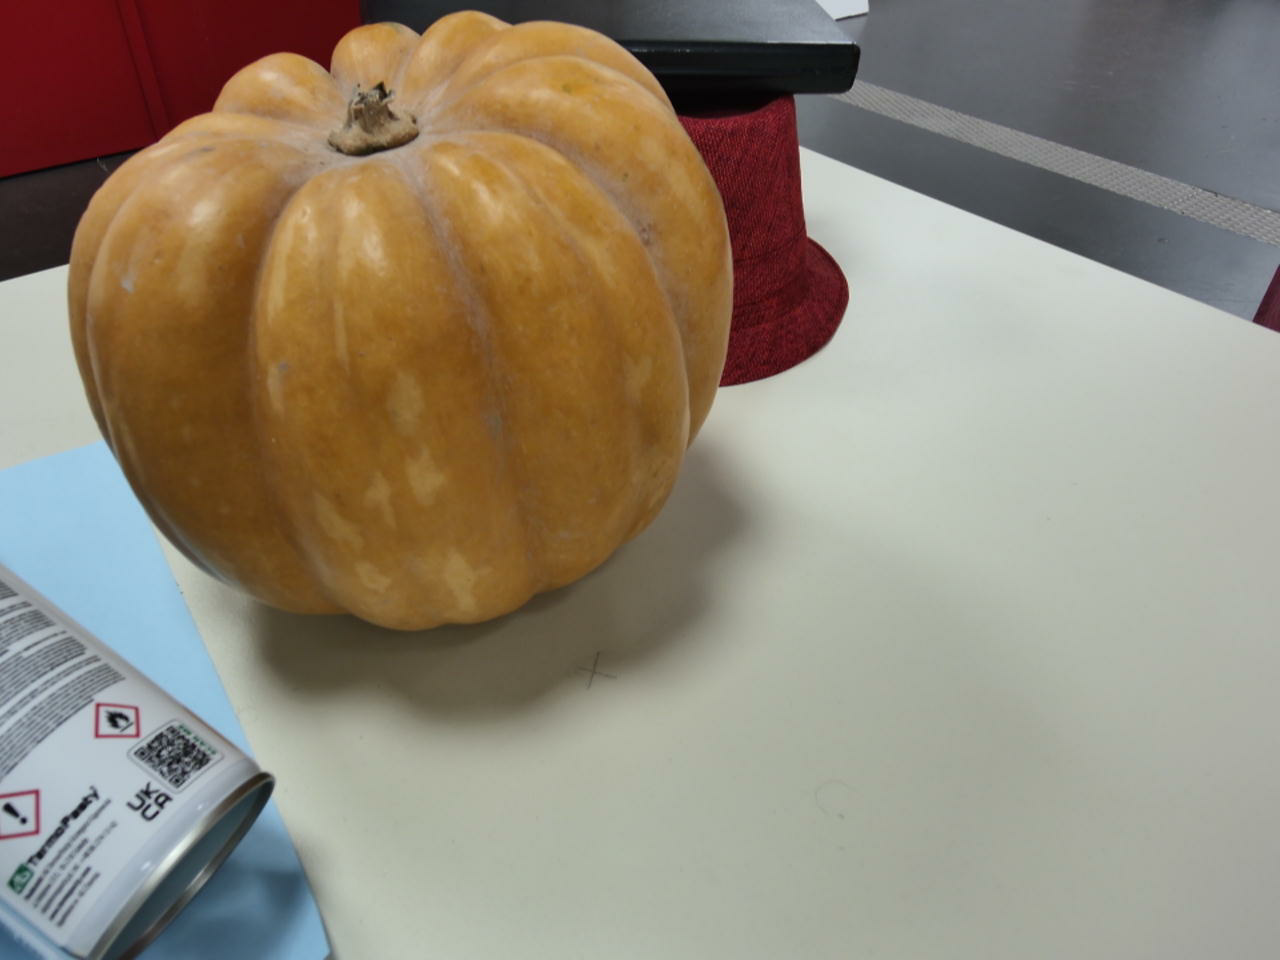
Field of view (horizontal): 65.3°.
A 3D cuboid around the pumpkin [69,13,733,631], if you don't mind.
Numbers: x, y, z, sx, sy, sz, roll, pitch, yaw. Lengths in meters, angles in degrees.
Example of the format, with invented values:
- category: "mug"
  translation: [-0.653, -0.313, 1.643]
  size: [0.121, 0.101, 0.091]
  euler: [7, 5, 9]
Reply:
- category: "pumpkin"
  translation: [-0.077, -0.056, 0.365]
  size: [0.230, 0.194, 0.230]
  euler: [0, 38, 0]
